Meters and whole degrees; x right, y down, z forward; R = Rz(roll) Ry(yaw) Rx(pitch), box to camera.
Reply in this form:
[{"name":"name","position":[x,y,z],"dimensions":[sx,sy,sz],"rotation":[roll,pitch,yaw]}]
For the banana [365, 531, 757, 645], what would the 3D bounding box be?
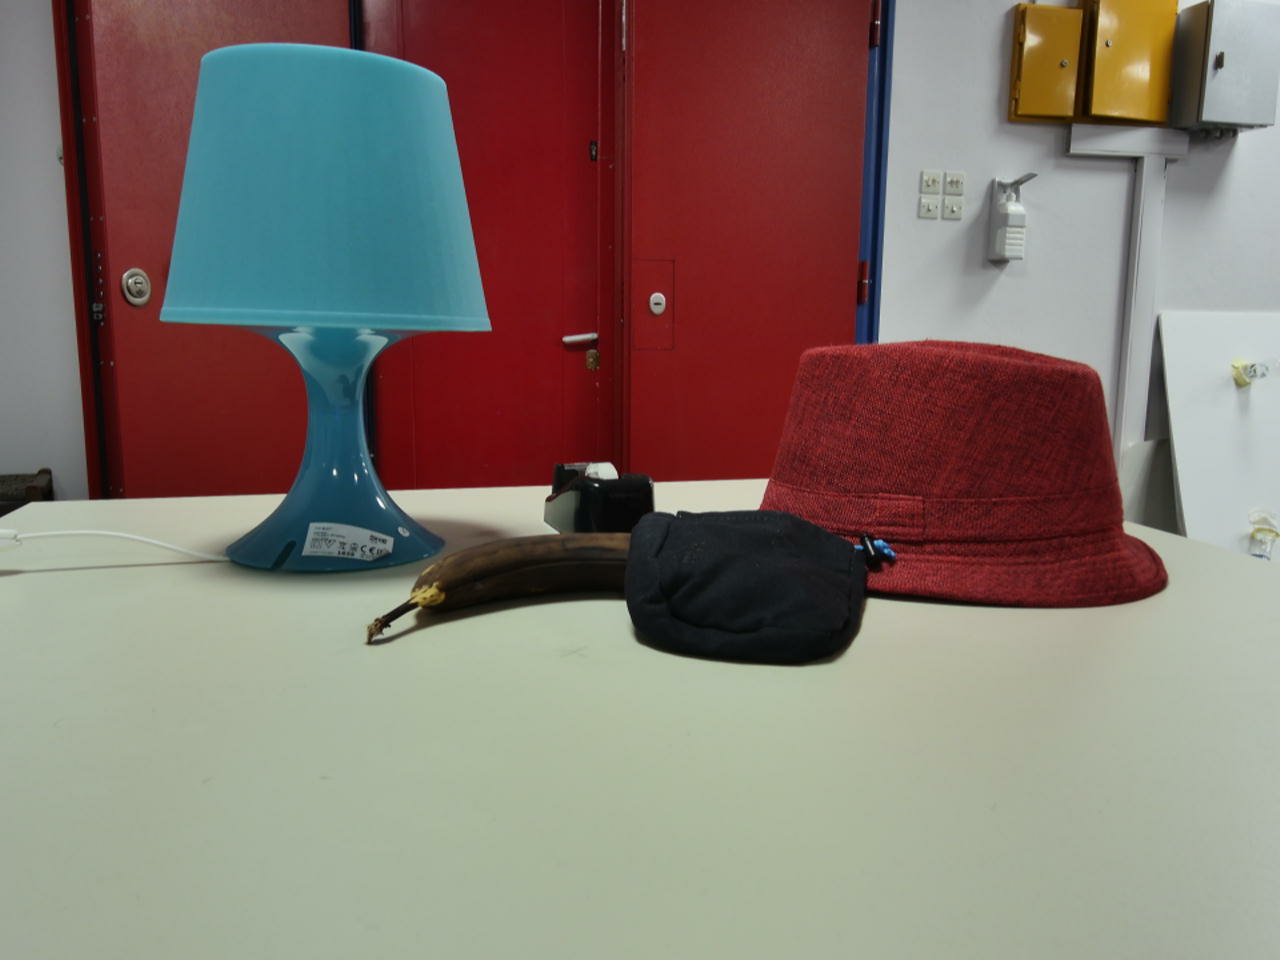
[{"name":"banana","position":[-0.039,0.048,0.507],"dimensions":[0.188,0.033,0.091],"rotation":[-2,7,-12]}]
